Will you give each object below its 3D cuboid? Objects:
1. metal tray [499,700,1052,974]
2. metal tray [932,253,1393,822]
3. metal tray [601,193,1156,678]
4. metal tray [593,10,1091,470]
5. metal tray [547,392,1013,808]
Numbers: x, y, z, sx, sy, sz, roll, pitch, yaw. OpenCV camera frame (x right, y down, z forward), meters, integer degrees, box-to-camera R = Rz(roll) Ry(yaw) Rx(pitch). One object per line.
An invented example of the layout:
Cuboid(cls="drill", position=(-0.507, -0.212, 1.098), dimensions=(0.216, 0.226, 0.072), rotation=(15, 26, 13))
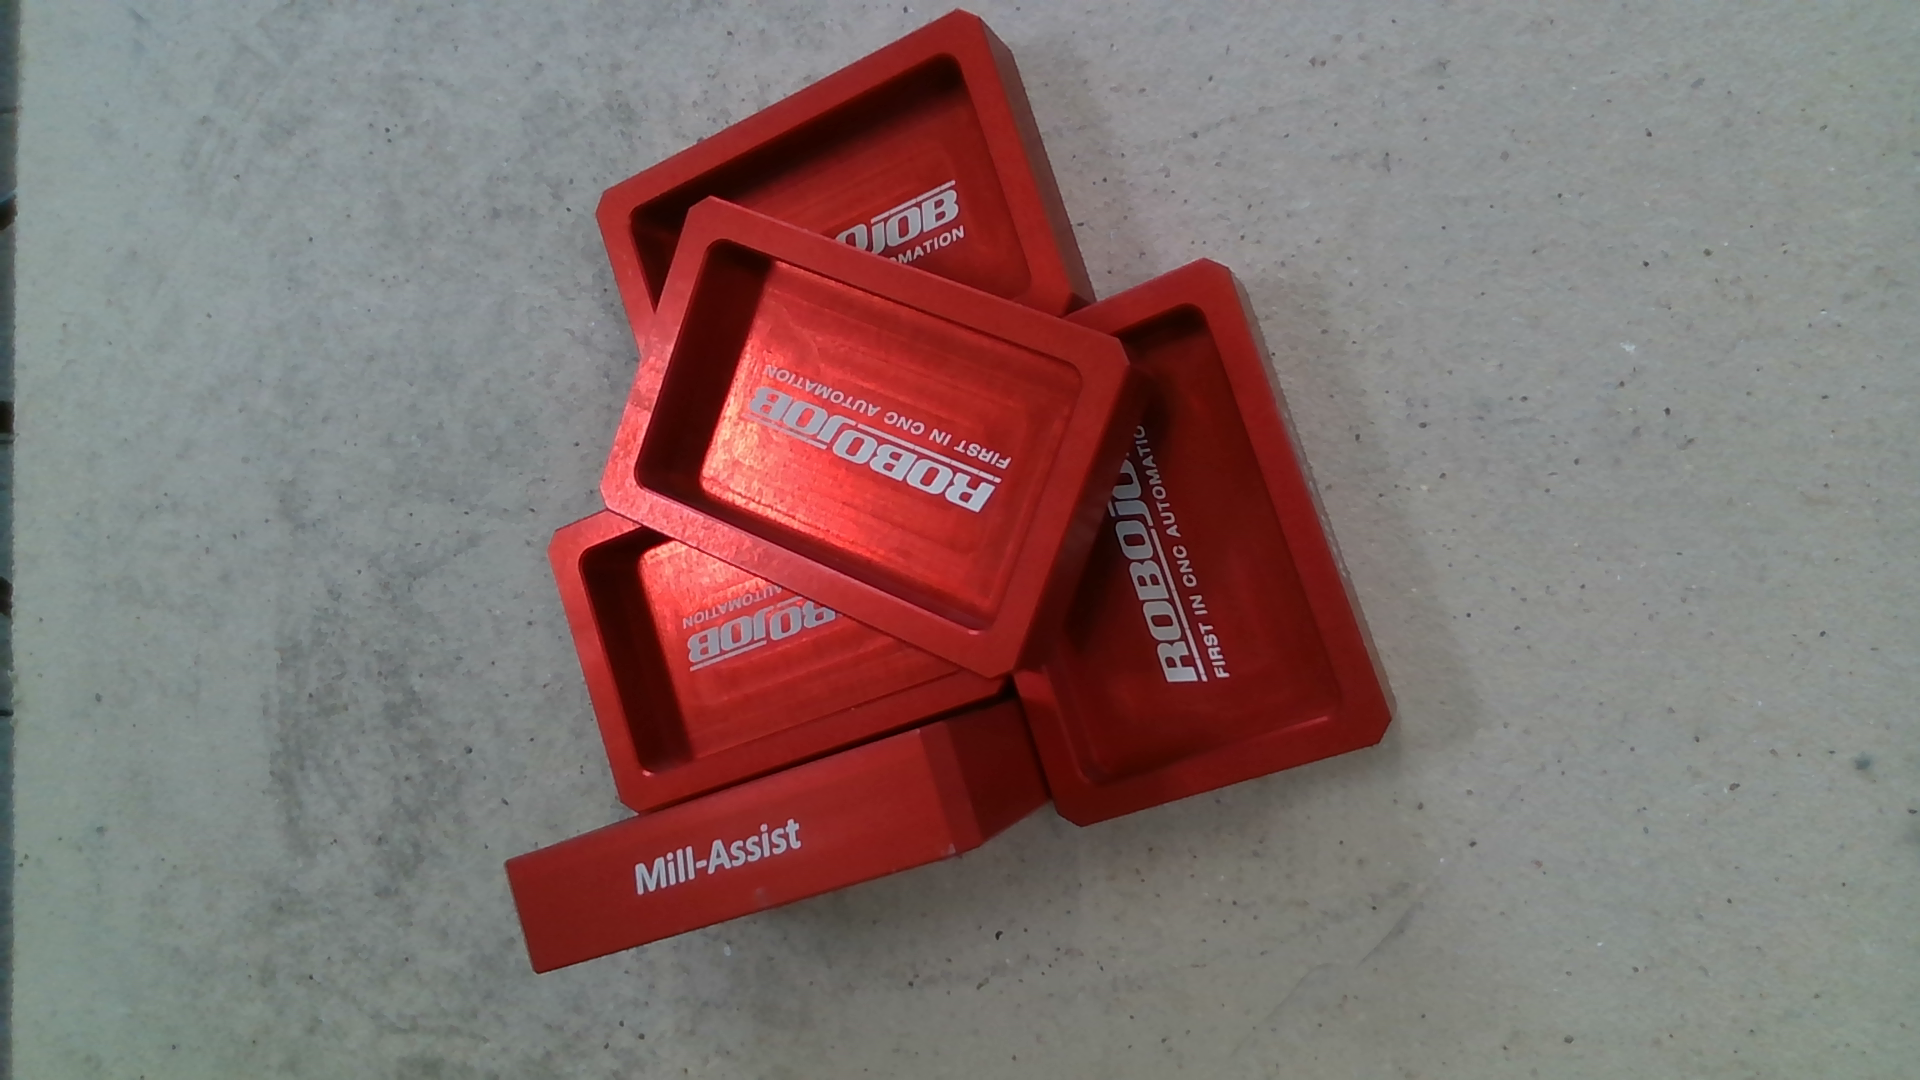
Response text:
Cuboid(cls="metal tray", position=(-0.045, 0.077, 0.374), dimensions=(0.130, 0.090, 0.030), rotation=(-19, 84, 19))
Cuboid(cls="metal tray", position=(0.053, 0.001, 0.373), dimensions=(0.090, 0.030, 0.130), rotation=(-20, 83, 19))
Cuboid(cls="metal tray", position=(-0.024, -0.029, 0.369), dimensions=(0.130, 0.030, 0.090), rotation=(23, 97, 19))
Cuboid(cls="metal tray", position=(-0.036, -0.082, 0.403), dimensions=(0.130, 0.030, 0.090), rotation=(-20, 83, 19))
Cuboid(cls="metal tray", position=(-0.052, 0.019, 0.408), dimensions=(0.130, 0.030, 0.090), rotation=(-21, 82, 20))
